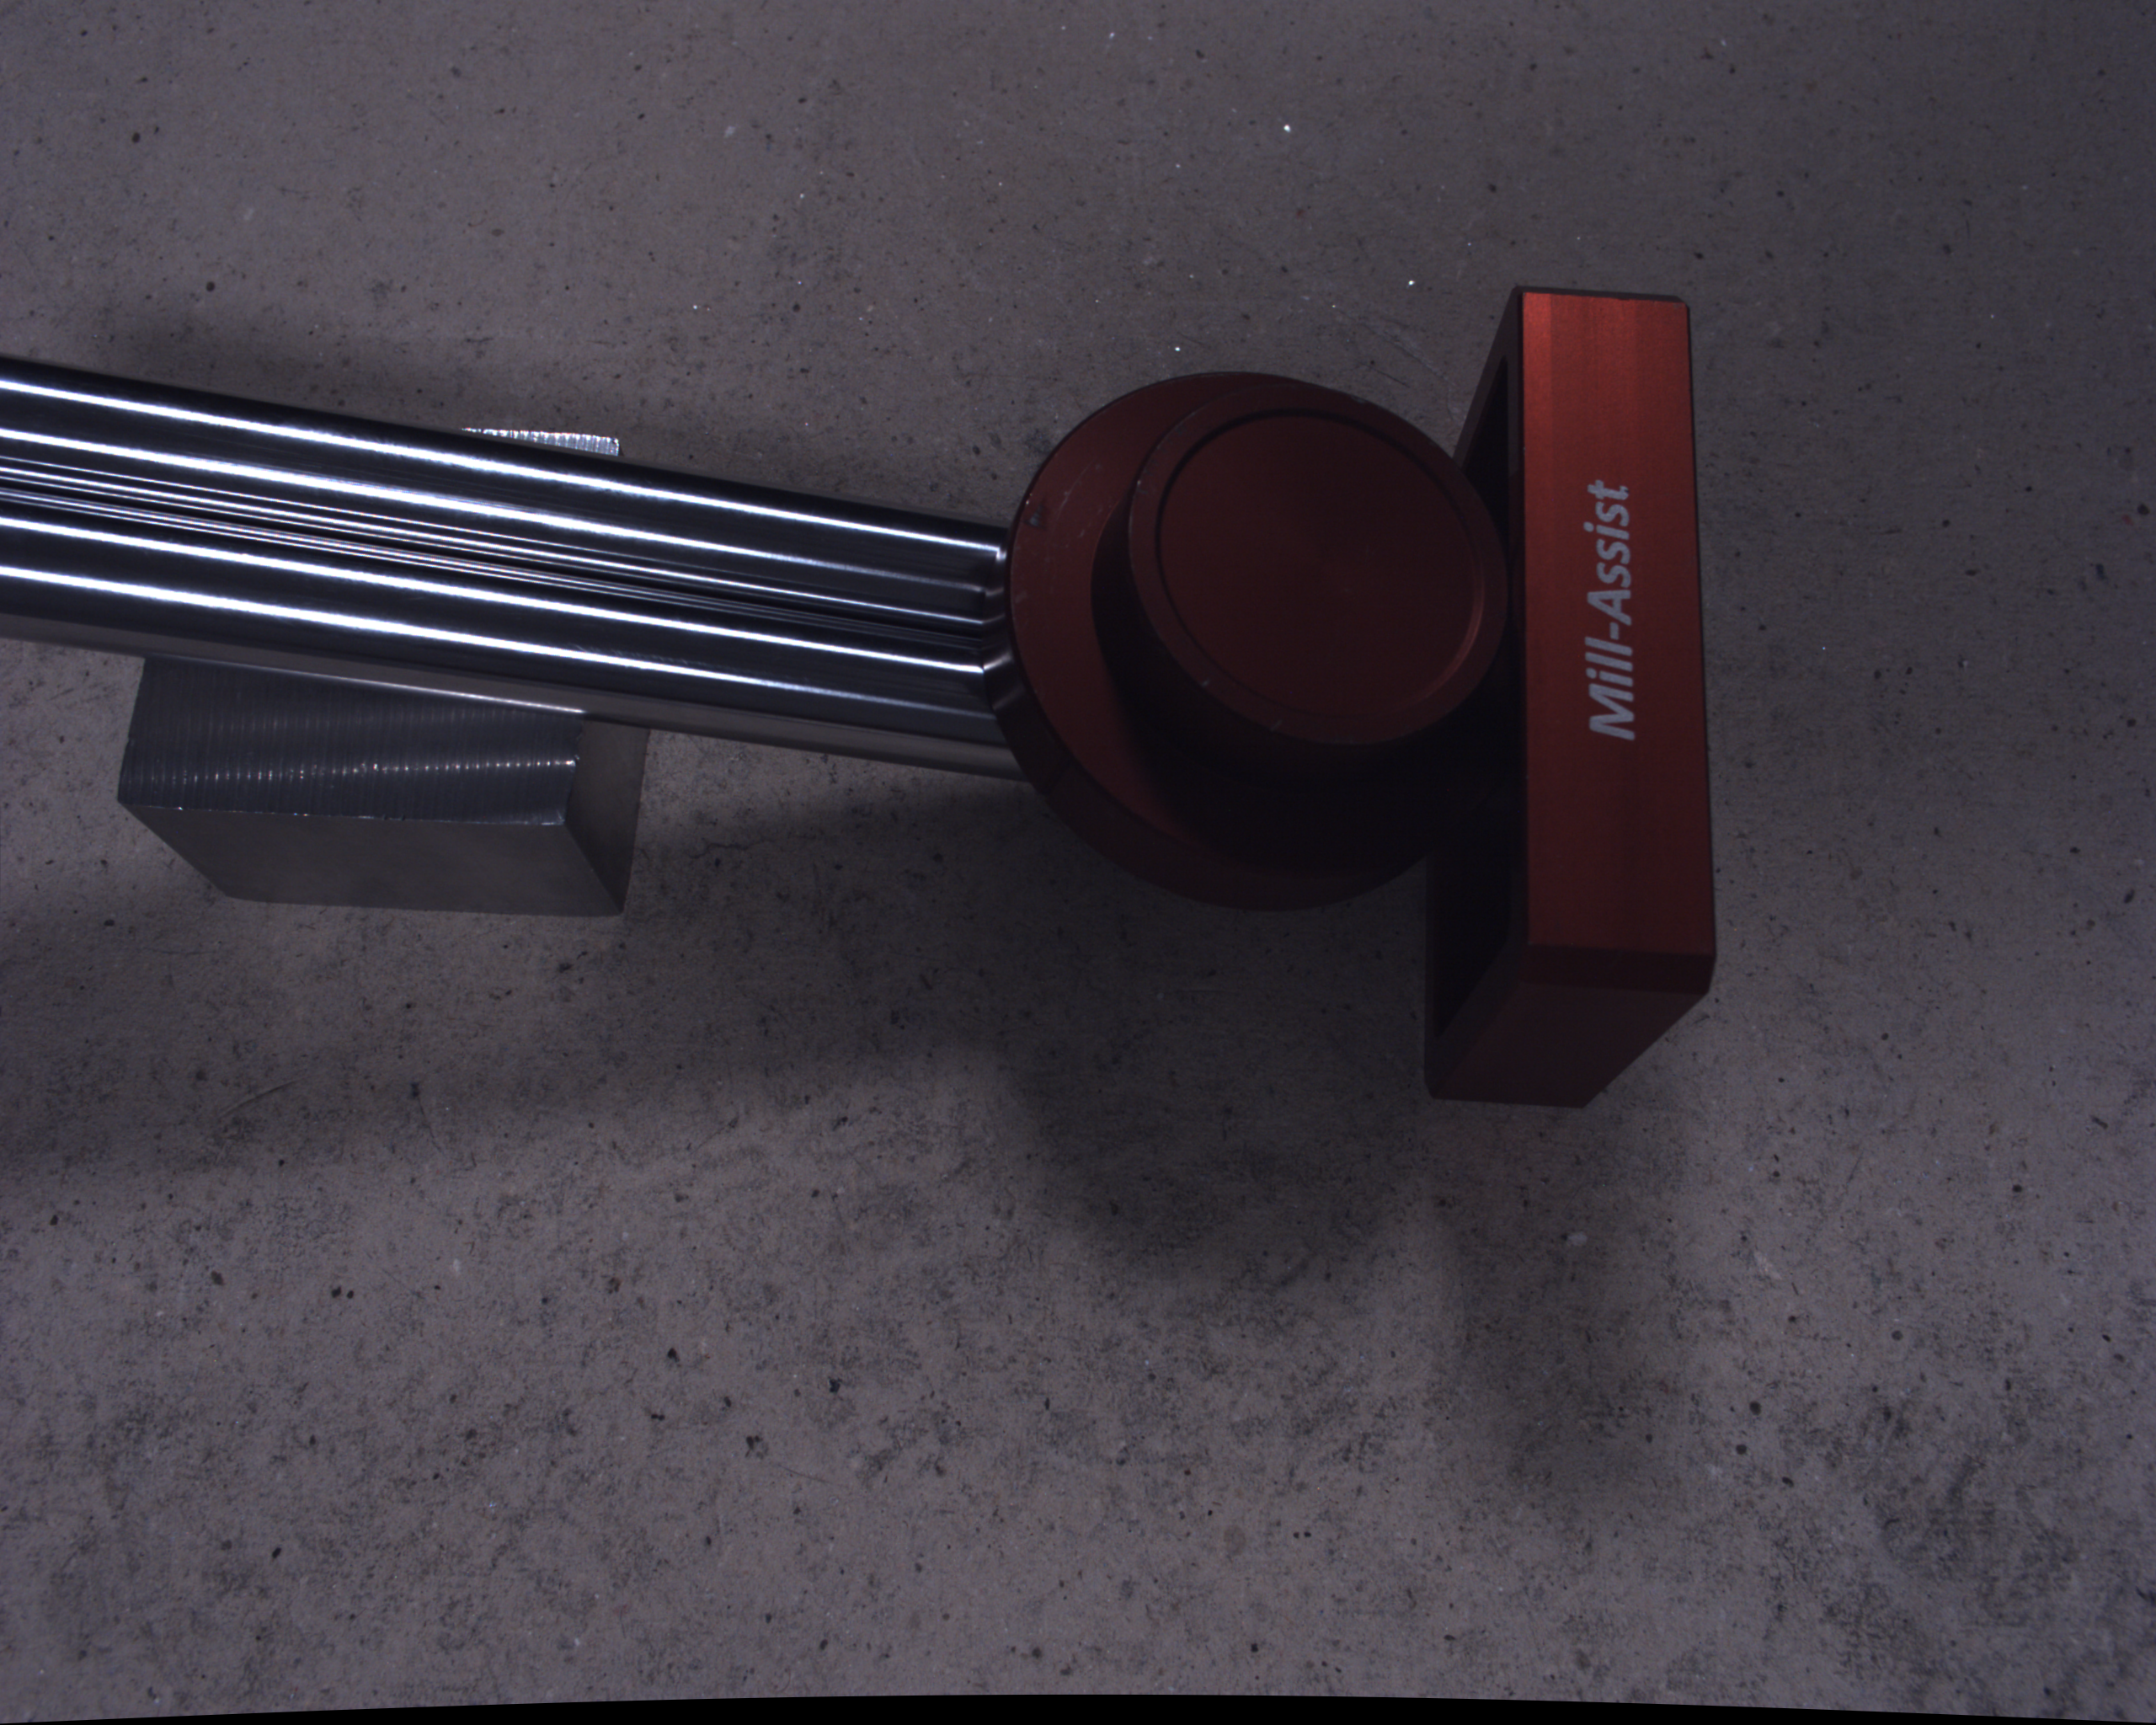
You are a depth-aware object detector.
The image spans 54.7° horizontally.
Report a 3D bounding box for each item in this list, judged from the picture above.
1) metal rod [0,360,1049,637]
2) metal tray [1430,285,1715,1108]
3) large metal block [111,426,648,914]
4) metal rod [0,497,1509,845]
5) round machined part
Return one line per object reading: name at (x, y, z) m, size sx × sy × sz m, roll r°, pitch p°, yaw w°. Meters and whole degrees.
metal rod at (-0.064, -0.060, 0.382) m, size 0.302 × 0.025 × 0.025 m, roll 7°, pitch 70°, yaw -12°
metal tray at (0.087, -0.028, 0.385) m, size 0.030 × 0.090 × 0.130 m, roll 3°, pitch 70°, yaw 1°
large metal block at (-0.128, -0.038, 0.404) m, size 0.081 × 0.050 × 0.080 m, roll 3°, pitch 70°, yaw 1°
metal rod at (-0.066, -0.034, 0.373) m, size 0.302 × 0.025 × 0.025 m, roll 7°, pitch 70°, yaw -11°
round machined part at (0.035, -0.044, 0.365) m, size 0.099 × 0.042 × 0.098 m, roll 3°, pitch 72°, yaw -11°
